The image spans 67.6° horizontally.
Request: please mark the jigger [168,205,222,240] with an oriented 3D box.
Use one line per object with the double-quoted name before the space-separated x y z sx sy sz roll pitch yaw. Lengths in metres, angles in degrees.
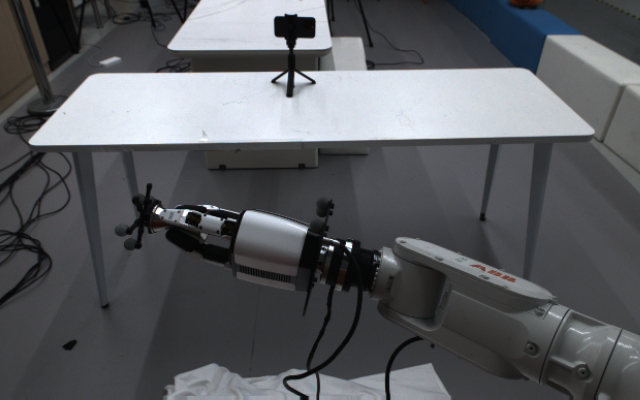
"jigger" -0.177 0.027 0.641 0.071 0.043 0.043 10 35 2
